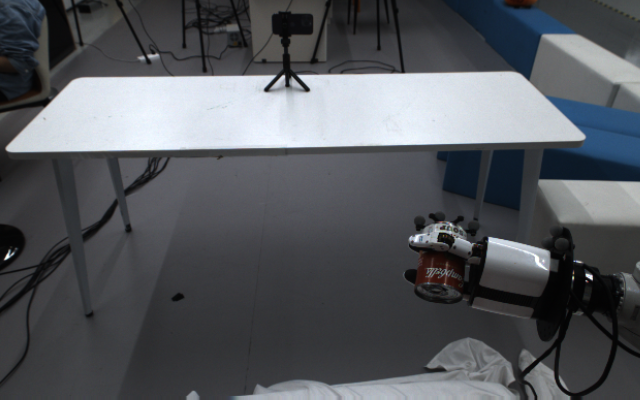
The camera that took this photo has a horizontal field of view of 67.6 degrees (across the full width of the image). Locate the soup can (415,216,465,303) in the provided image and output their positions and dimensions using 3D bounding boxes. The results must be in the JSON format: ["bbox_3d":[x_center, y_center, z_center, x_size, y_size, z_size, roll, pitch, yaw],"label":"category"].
[{"bbox_3d":[0.177,0.089,0.700,0.067,0.067,0.101,9,58,10],"label":"soup can"}]
